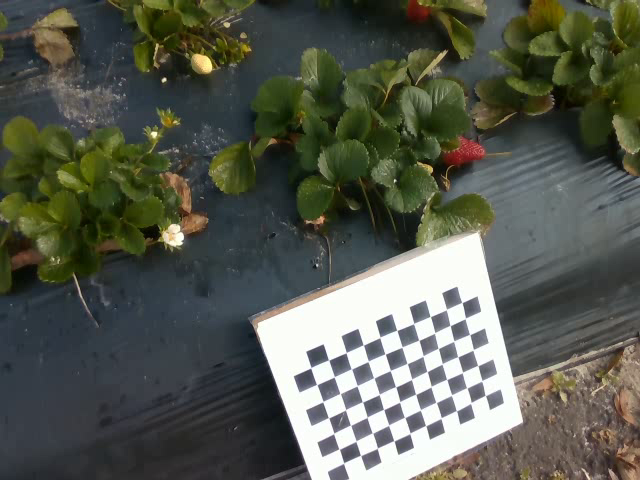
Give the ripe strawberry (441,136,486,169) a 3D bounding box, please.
[{"bbox_3d":[0.175,-0.110,0.779,0.064,0.051,0.043,12,5,-20],"label":"ripe strawberry"}]
